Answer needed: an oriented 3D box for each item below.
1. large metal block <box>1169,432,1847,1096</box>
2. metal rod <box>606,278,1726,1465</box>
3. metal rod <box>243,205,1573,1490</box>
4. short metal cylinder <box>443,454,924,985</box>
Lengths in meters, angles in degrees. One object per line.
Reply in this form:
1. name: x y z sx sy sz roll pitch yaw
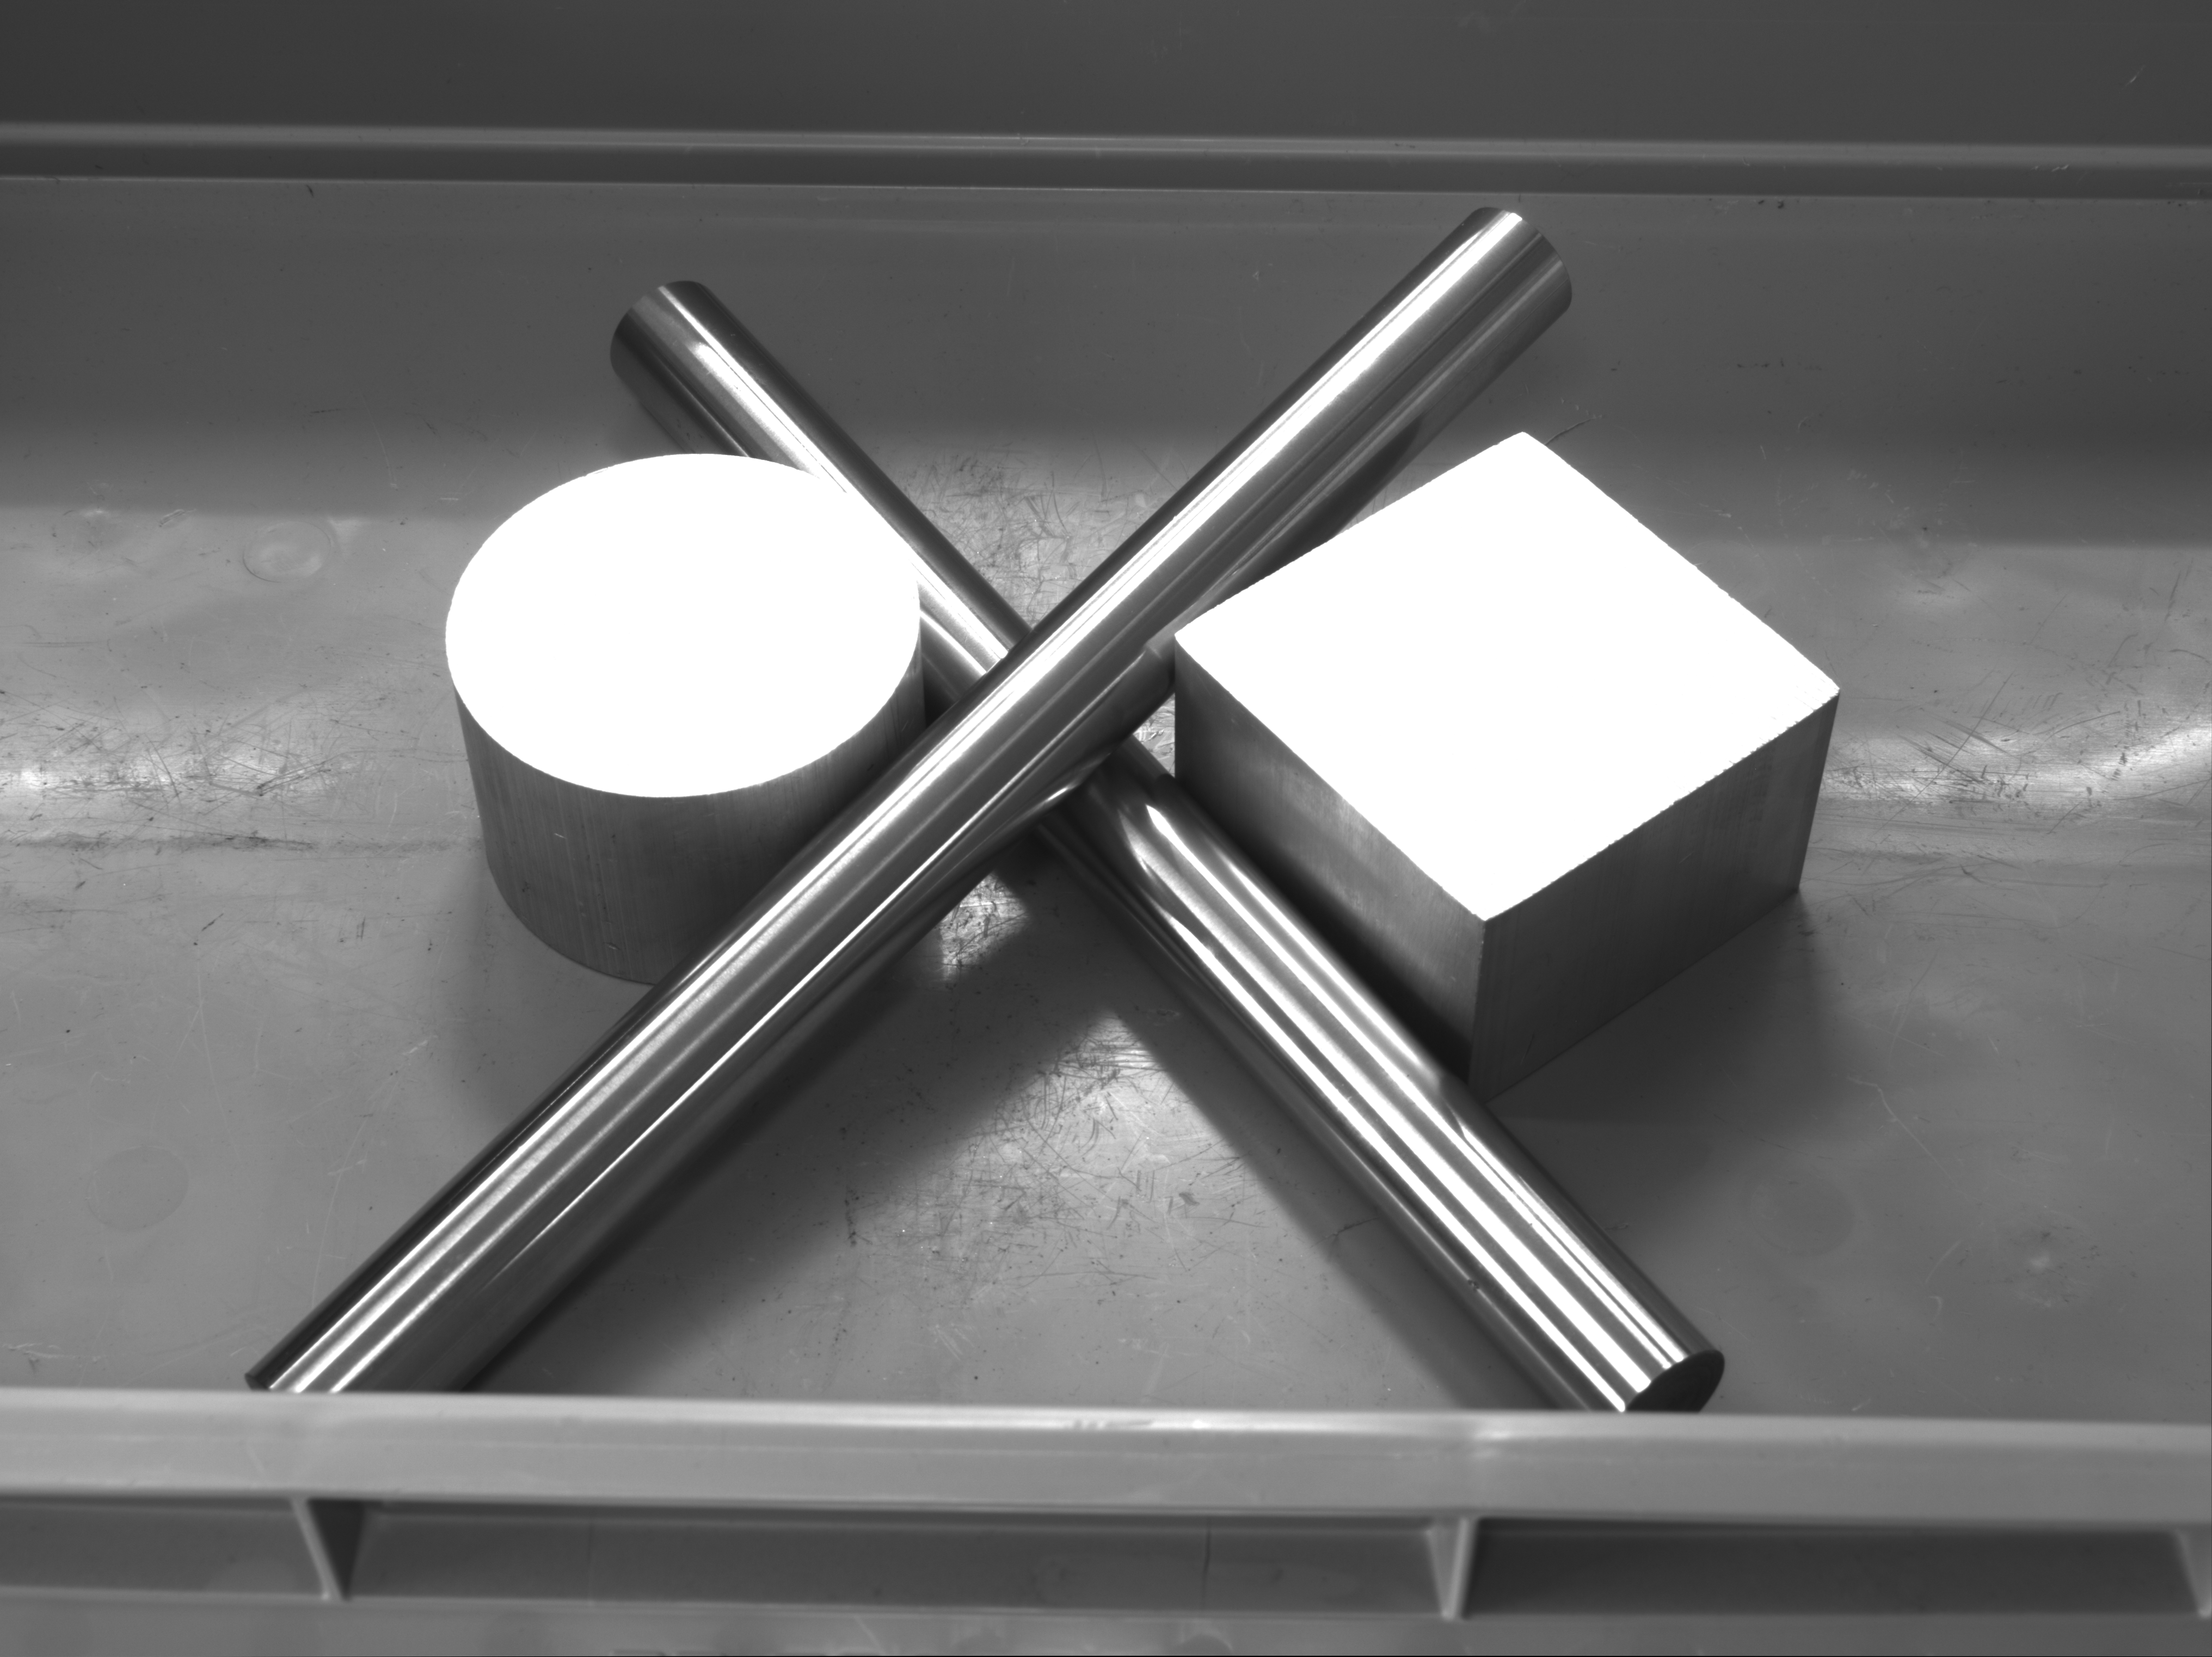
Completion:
1. large metal block: 0.067 -0.011 0.633 0.080 0.050 0.080 -31 56 -23
2. metal rod: -0.001 -0.004 0.644 0.025 0.025 0.299 -29 55 -22
3. metal rod: -0.024 -0.006 0.618 0.025 0.025 0.300 35 66 26
4. short metal cylinder: -0.072 -0.019 0.641 0.080 0.050 0.080 0 50 0
